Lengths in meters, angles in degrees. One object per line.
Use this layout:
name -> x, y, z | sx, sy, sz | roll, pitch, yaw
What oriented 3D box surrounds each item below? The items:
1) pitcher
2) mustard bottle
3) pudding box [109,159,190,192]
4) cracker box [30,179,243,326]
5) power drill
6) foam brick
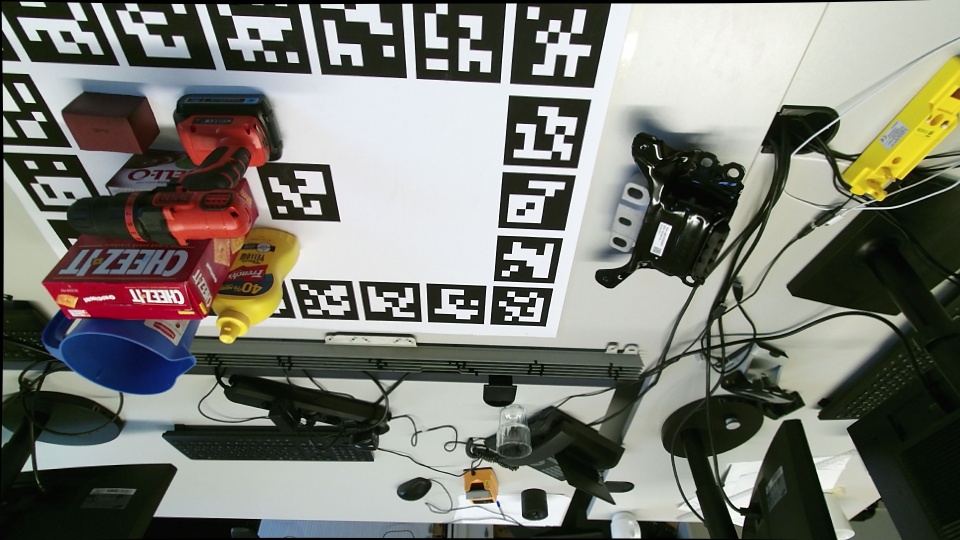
pitcher -> -0.472, 0.047, 0.748 | 0.189, 0.241, 0.133 | 4, 131, -7
mustard bottle -> -0.338, 0.041, 0.760 | 0.096, 0.190, 0.058 | 11, 130, -10
pudding box -> -0.413, -0.103, 0.693 | 0.114, 0.089, 0.039 | 0, 133, -4
cracker box -> -0.422, -0.032, 0.685 | 0.165, 0.212, 0.072 | -2, 133, -2
power drill -> -0.348, -0.103, 0.602 | 0.185, 0.186, 0.057 | 0, 135, 0
foam brick -> -0.469, -0.174, 0.673 | 0.078, 0.051, 0.053 | 3, 130, -3
